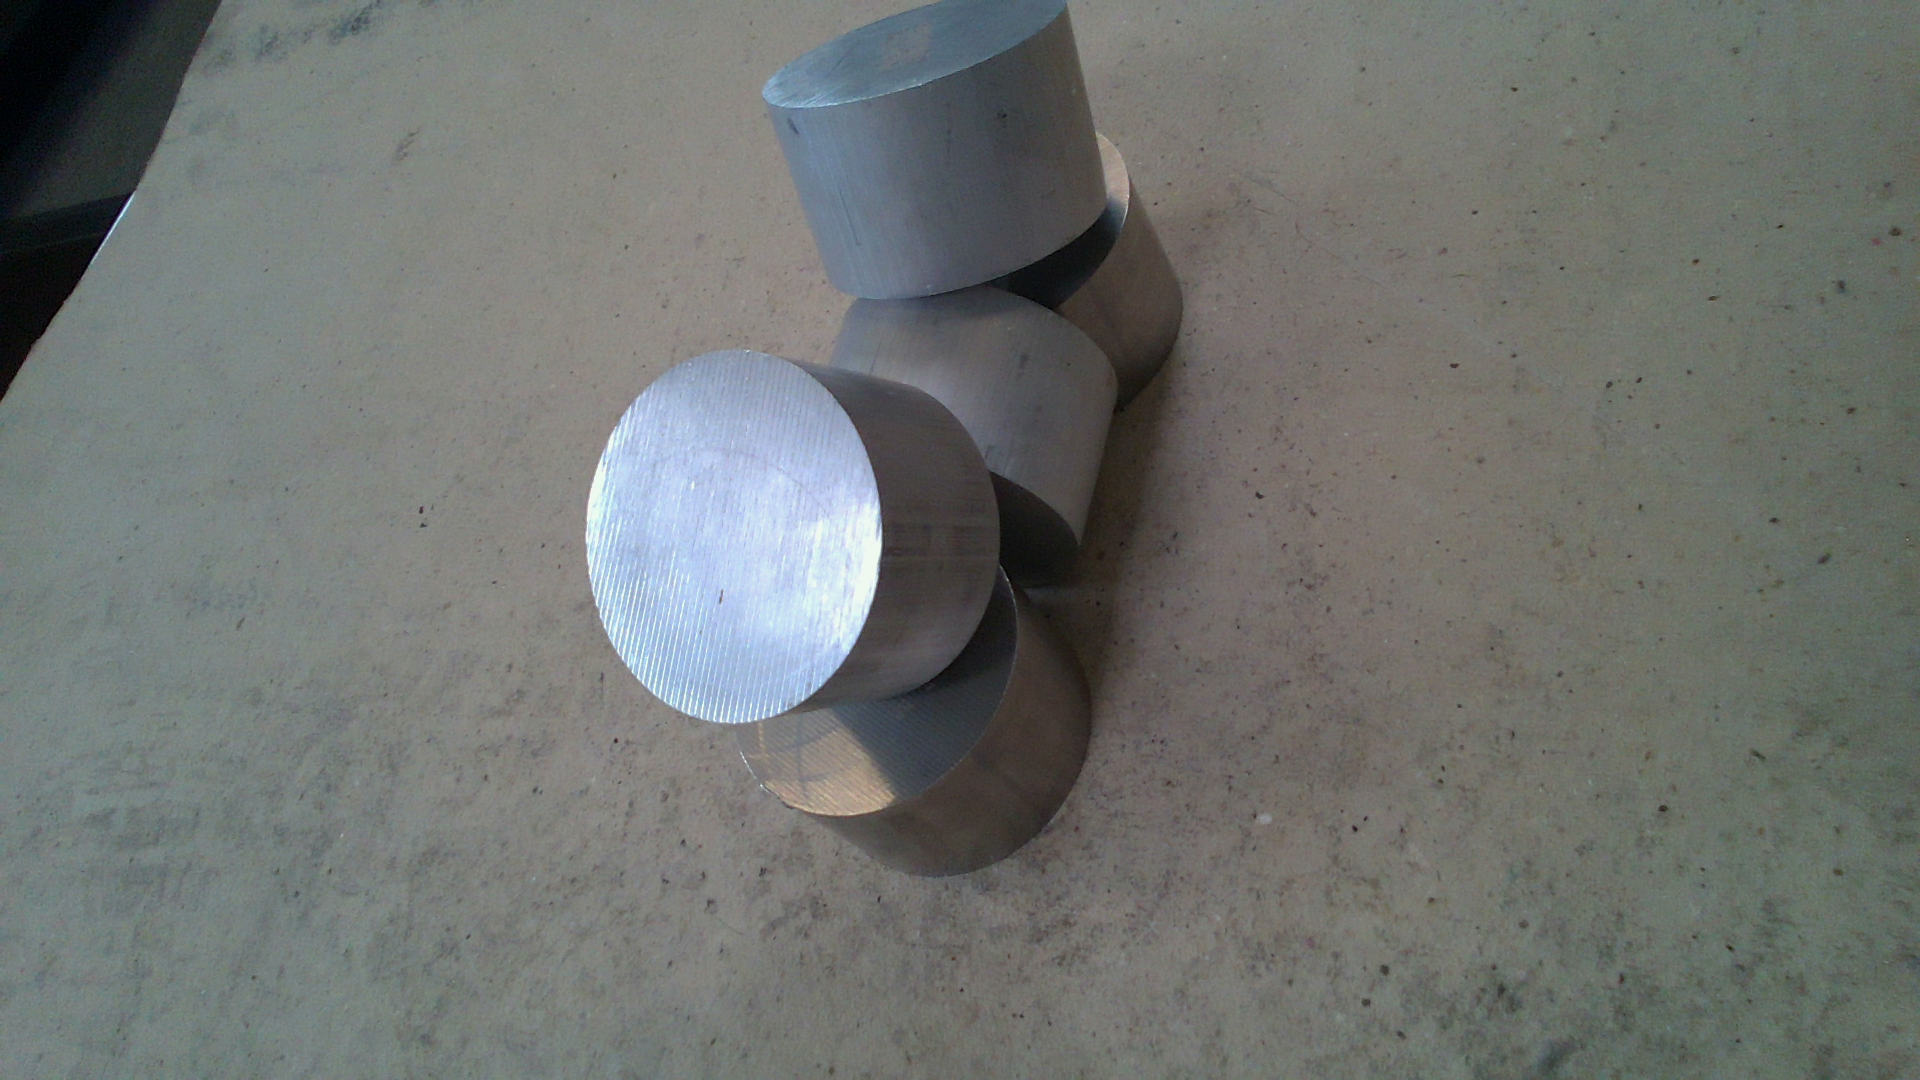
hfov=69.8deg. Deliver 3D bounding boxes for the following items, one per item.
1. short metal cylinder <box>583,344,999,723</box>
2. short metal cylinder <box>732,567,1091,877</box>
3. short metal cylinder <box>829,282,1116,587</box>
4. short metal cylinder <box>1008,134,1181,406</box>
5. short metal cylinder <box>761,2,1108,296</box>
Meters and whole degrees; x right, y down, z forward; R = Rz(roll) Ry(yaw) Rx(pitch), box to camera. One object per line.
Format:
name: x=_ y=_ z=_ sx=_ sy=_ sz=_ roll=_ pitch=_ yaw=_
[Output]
short metal cylinder: x=-0.038 y=-0.001 z=0.313 sx=0.080 sy=0.050 sz=0.080 roll=0 pitch=89 yaw=30
short metal cylinder: x=-0.012 y=0.041 z=0.359 sx=0.080 sy=0.050 sz=0.080 roll=-13 pitch=56 yaw=21
short metal cylinder: x=-0.001 y=-0.027 z=0.376 sx=0.080 sy=0.080 sz=0.050 roll=1 pitch=62 yaw=29
short metal cylinder: x=0.021 y=-0.078 z=0.415 sx=0.080 sy=0.050 sz=0.080 roll=-13 pitch=56 yaw=21
short metal cylinder: x=-0.006 y=-0.105 z=0.362 sx=0.080 sy=0.050 sz=0.080 roll=-13 pitch=32 yaw=9
